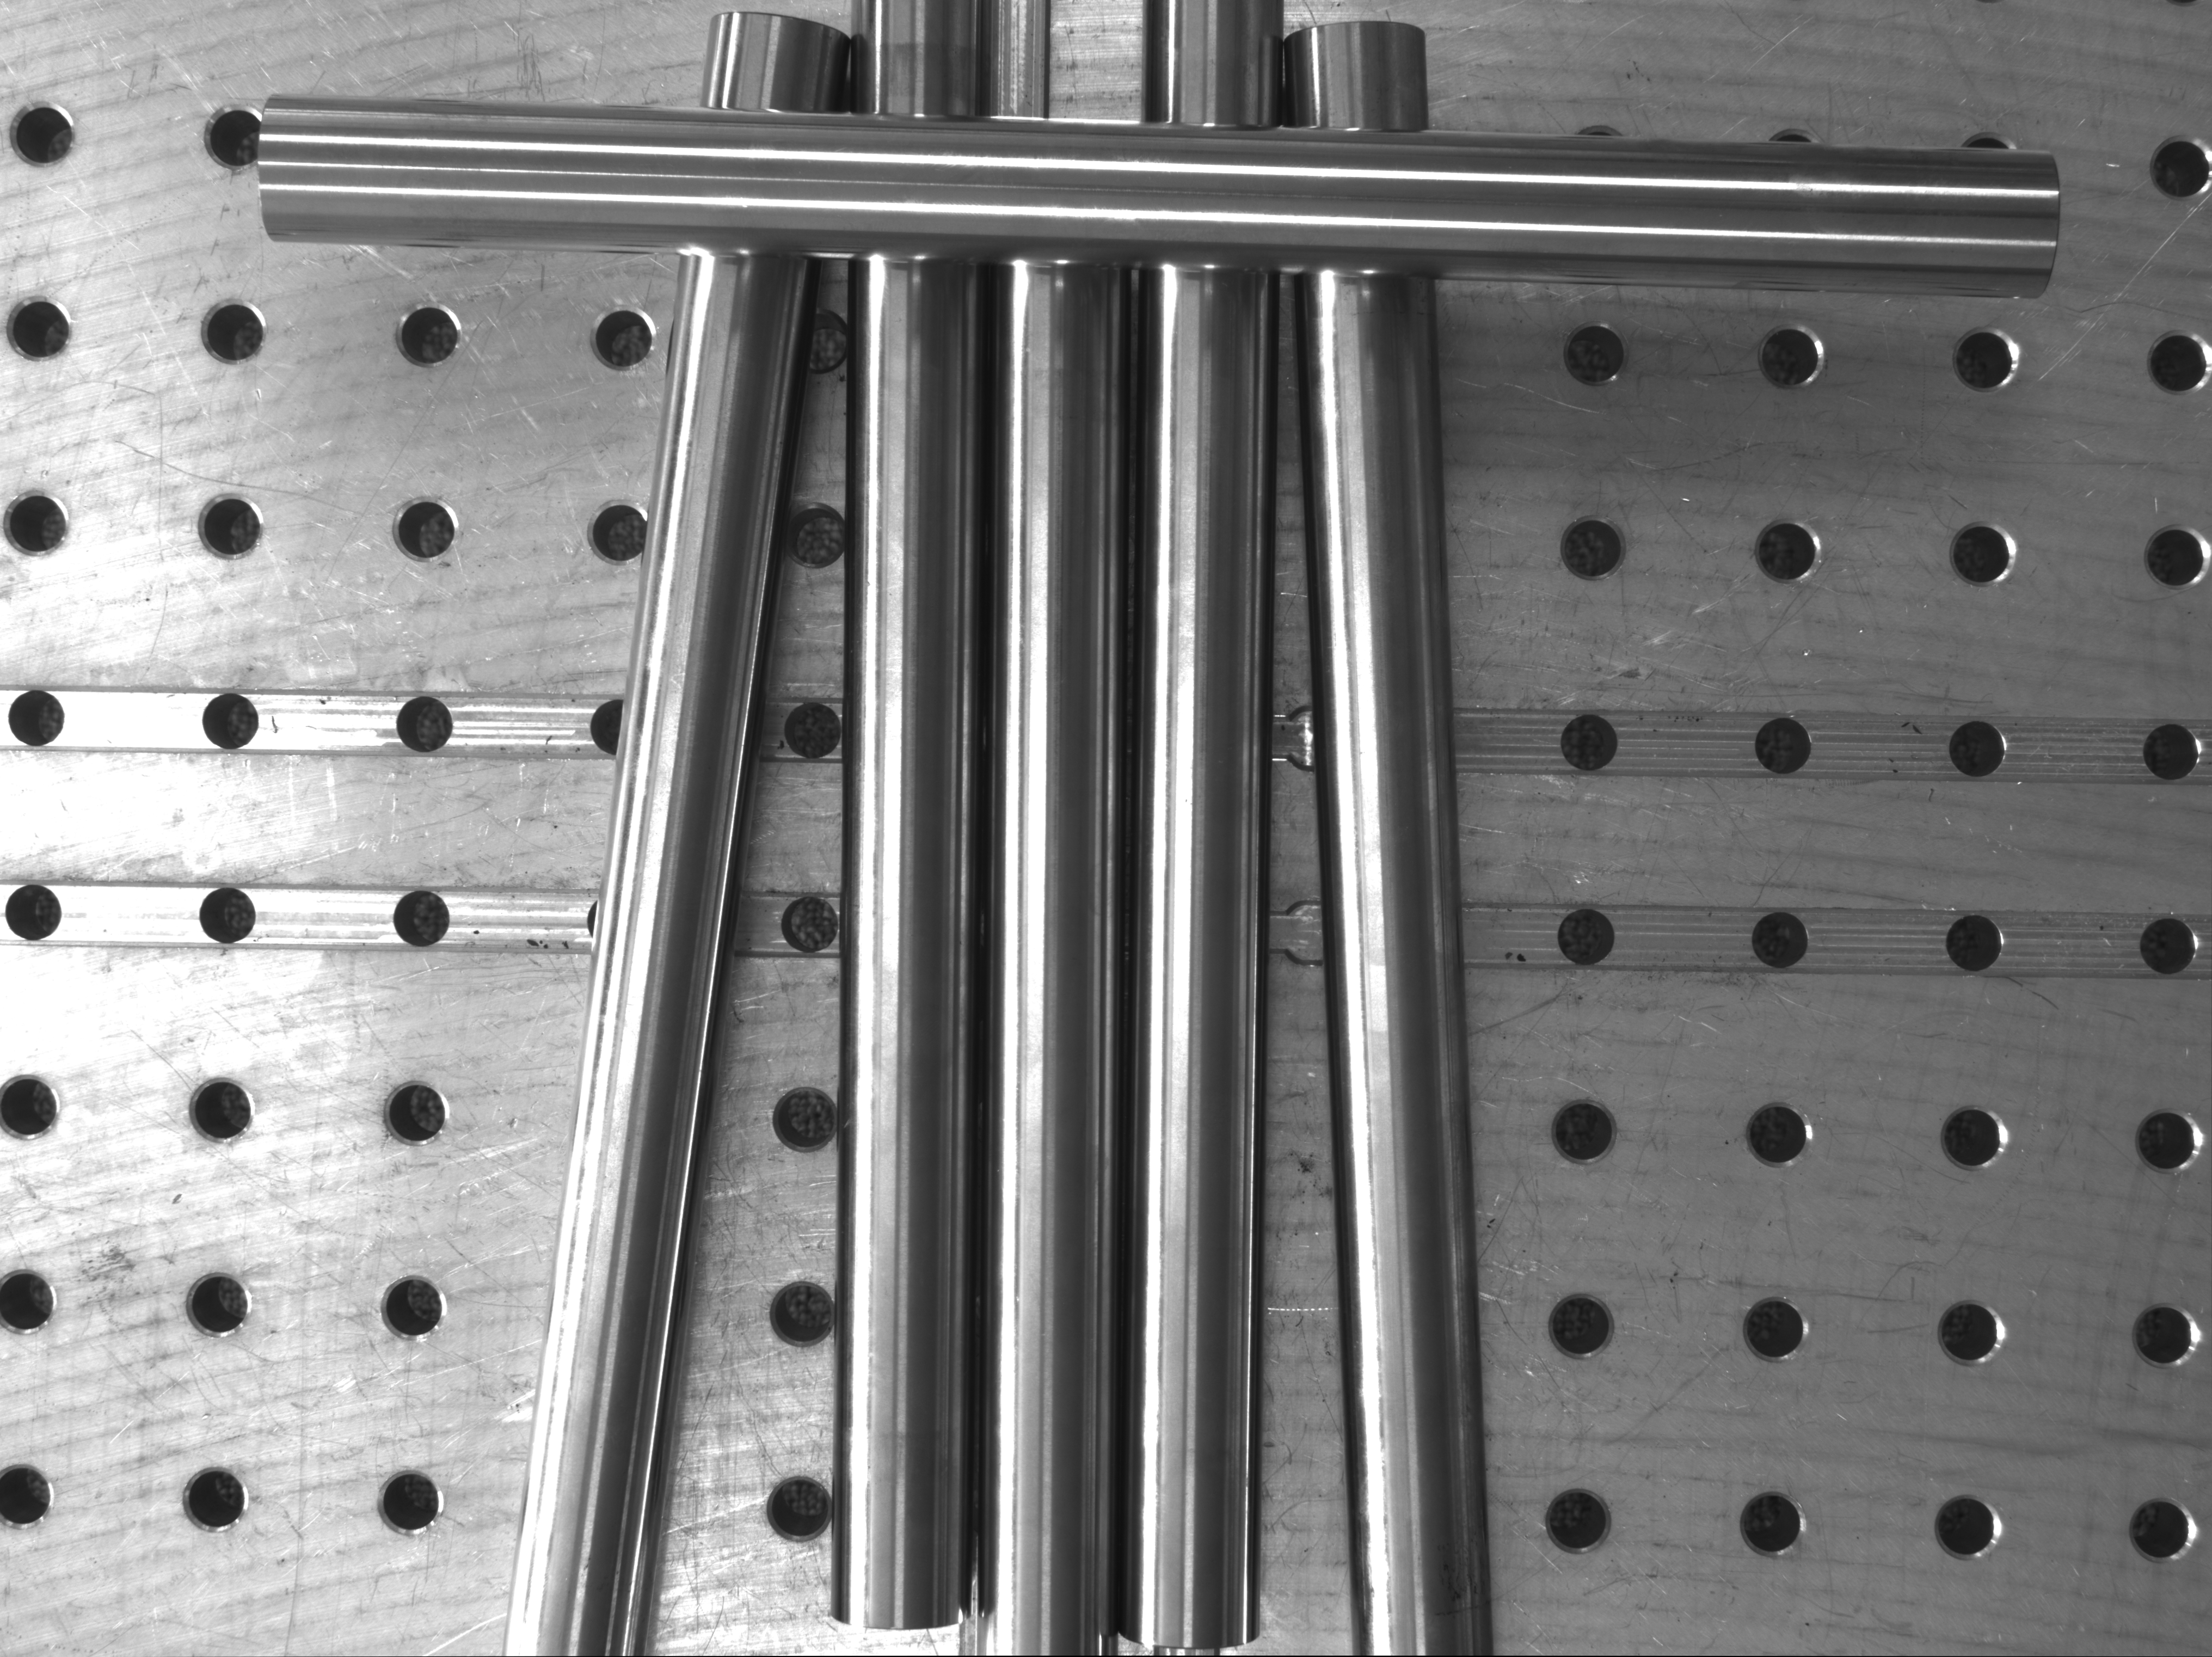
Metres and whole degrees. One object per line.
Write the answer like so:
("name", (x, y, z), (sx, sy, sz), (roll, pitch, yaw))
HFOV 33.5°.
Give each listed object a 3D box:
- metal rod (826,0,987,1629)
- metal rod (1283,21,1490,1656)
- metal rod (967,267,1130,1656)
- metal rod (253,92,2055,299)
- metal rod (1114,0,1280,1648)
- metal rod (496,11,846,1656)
("metal rod", (-0.035, -0.011, 0.649), (0.025, 0.025, 0.300), (1, 90, 0))
("metal rod", (0.050, 0.010, 0.649), (0.025, 0.025, 0.300), (-2, 90, 0))
("metal rod", (-0.010, 0.045, 0.648), (0.025, 0.025, 0.300), (1, 90, 0))
("metal rod", (0.008, -0.107, 0.623), (0.300, 0.025, 0.025), (2, 90, 0))
("metal rod", (0.016, -0.008, 0.649), (0.025, 0.025, 0.300), (1, 90, 0))
("metal rod", (-0.077, 0.008, 0.647), (0.025, 0.025, 0.300), (7, 90, 0))
